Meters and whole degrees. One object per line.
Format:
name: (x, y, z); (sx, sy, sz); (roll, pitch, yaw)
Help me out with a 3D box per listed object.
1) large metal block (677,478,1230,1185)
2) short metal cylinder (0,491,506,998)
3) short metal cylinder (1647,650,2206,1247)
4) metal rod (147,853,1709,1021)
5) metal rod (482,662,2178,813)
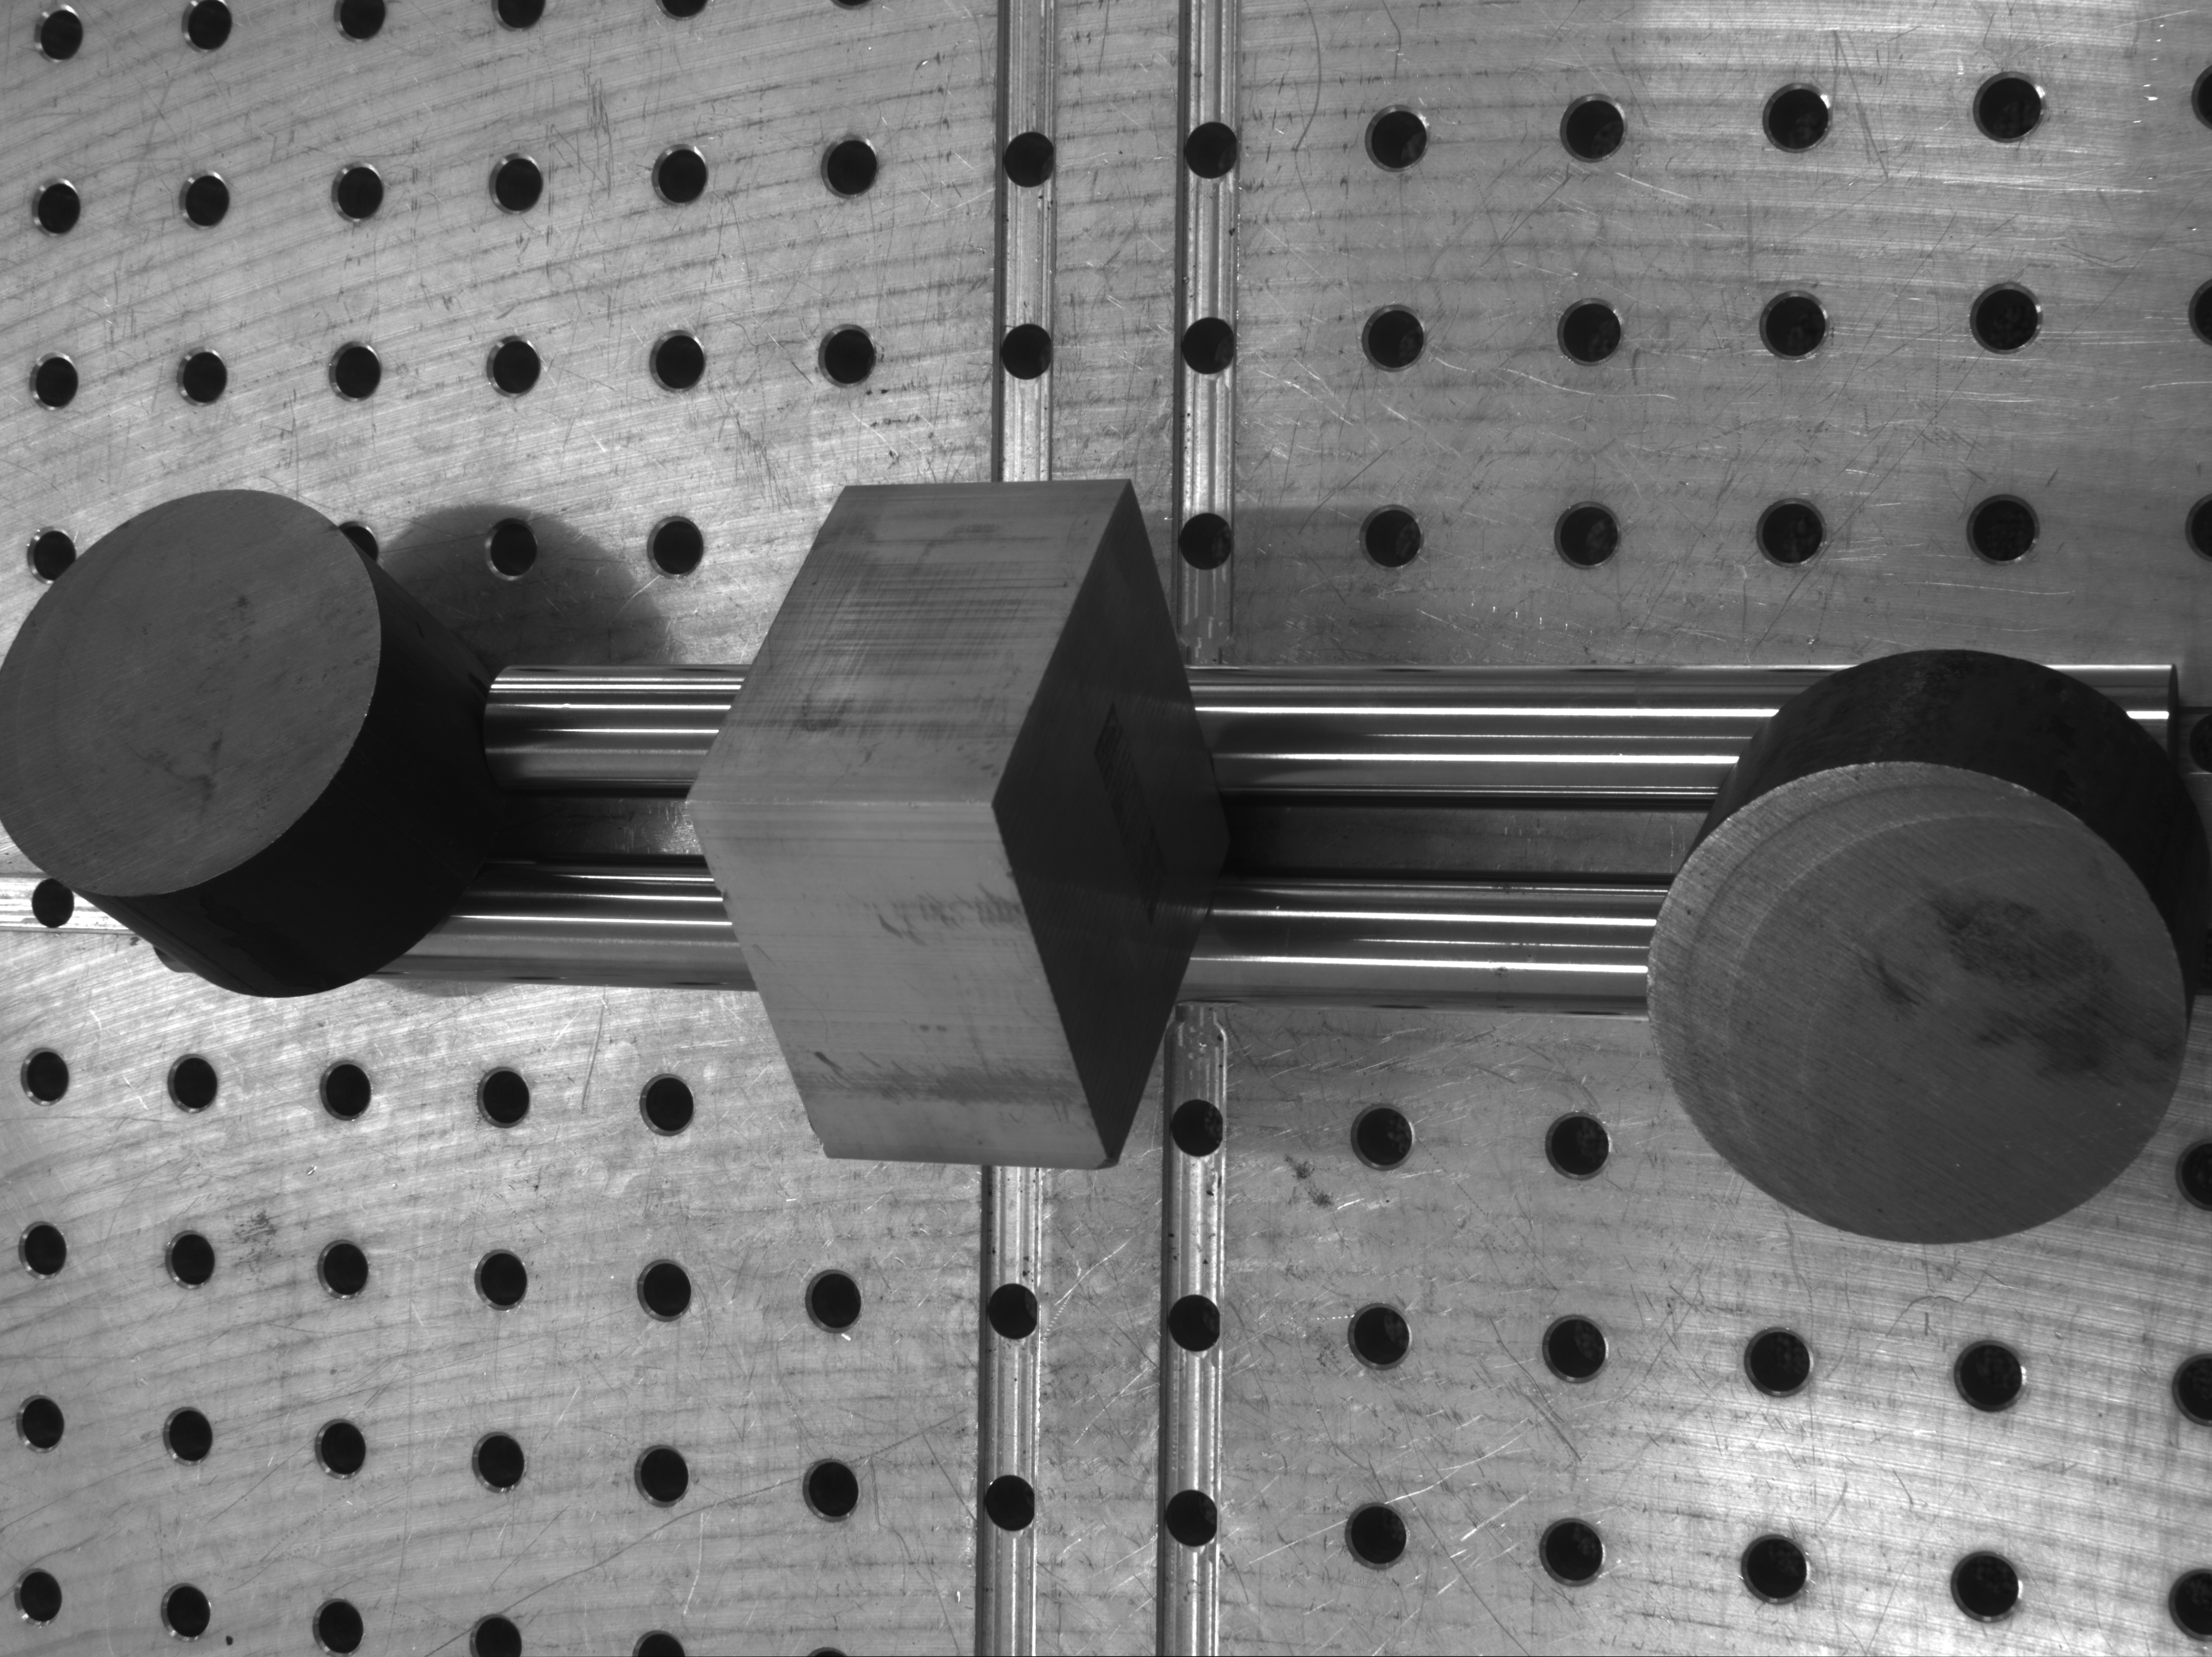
large metal block: (-0.021, 0.000, 0.596); (0.050, 0.080, 0.080); (1, 132, 20)
short metal cylinder: (-0.158, -0.015, 0.678); (0.080, 0.050, 0.080); (-8, 65, 17)
short metal cylinder: (0.129, 0.018, 0.575); (0.080, 0.050, 0.080); (8, 115, 18)
metal rod: (-0.040, 0.018, 0.663); (0.299, 0.025, 0.025); (1, 90, 20)
metal rod: (0.030, -0.016, 0.638); (0.299, 0.025, 0.025); (1, 90, 20)
